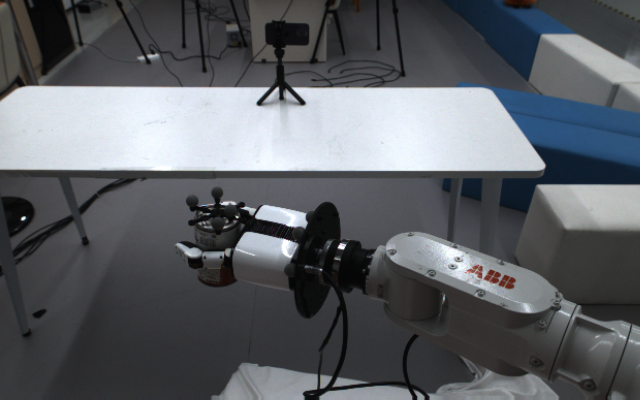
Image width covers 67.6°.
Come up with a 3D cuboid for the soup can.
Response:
[{"bbox_3d":[-0.147,0.069,0.705,0.067,0.101,0.067,4,31,-2],"label":"soup can"}]
